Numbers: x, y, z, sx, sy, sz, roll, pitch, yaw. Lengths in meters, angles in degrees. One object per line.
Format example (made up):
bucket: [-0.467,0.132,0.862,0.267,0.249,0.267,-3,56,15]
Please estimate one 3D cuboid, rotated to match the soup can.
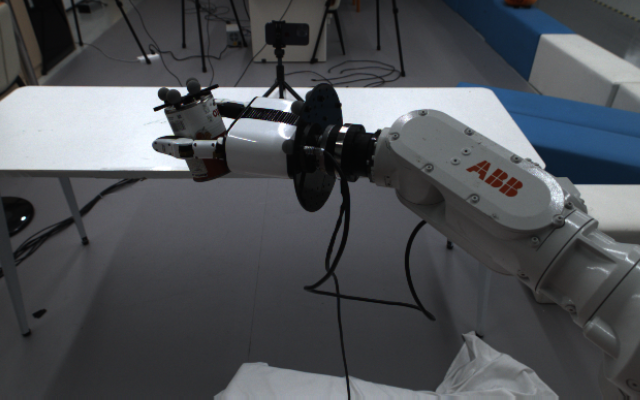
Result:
soup can: [-0.157,-0.082,0.649,0.067,0.101,0.067,-16,23,7]
